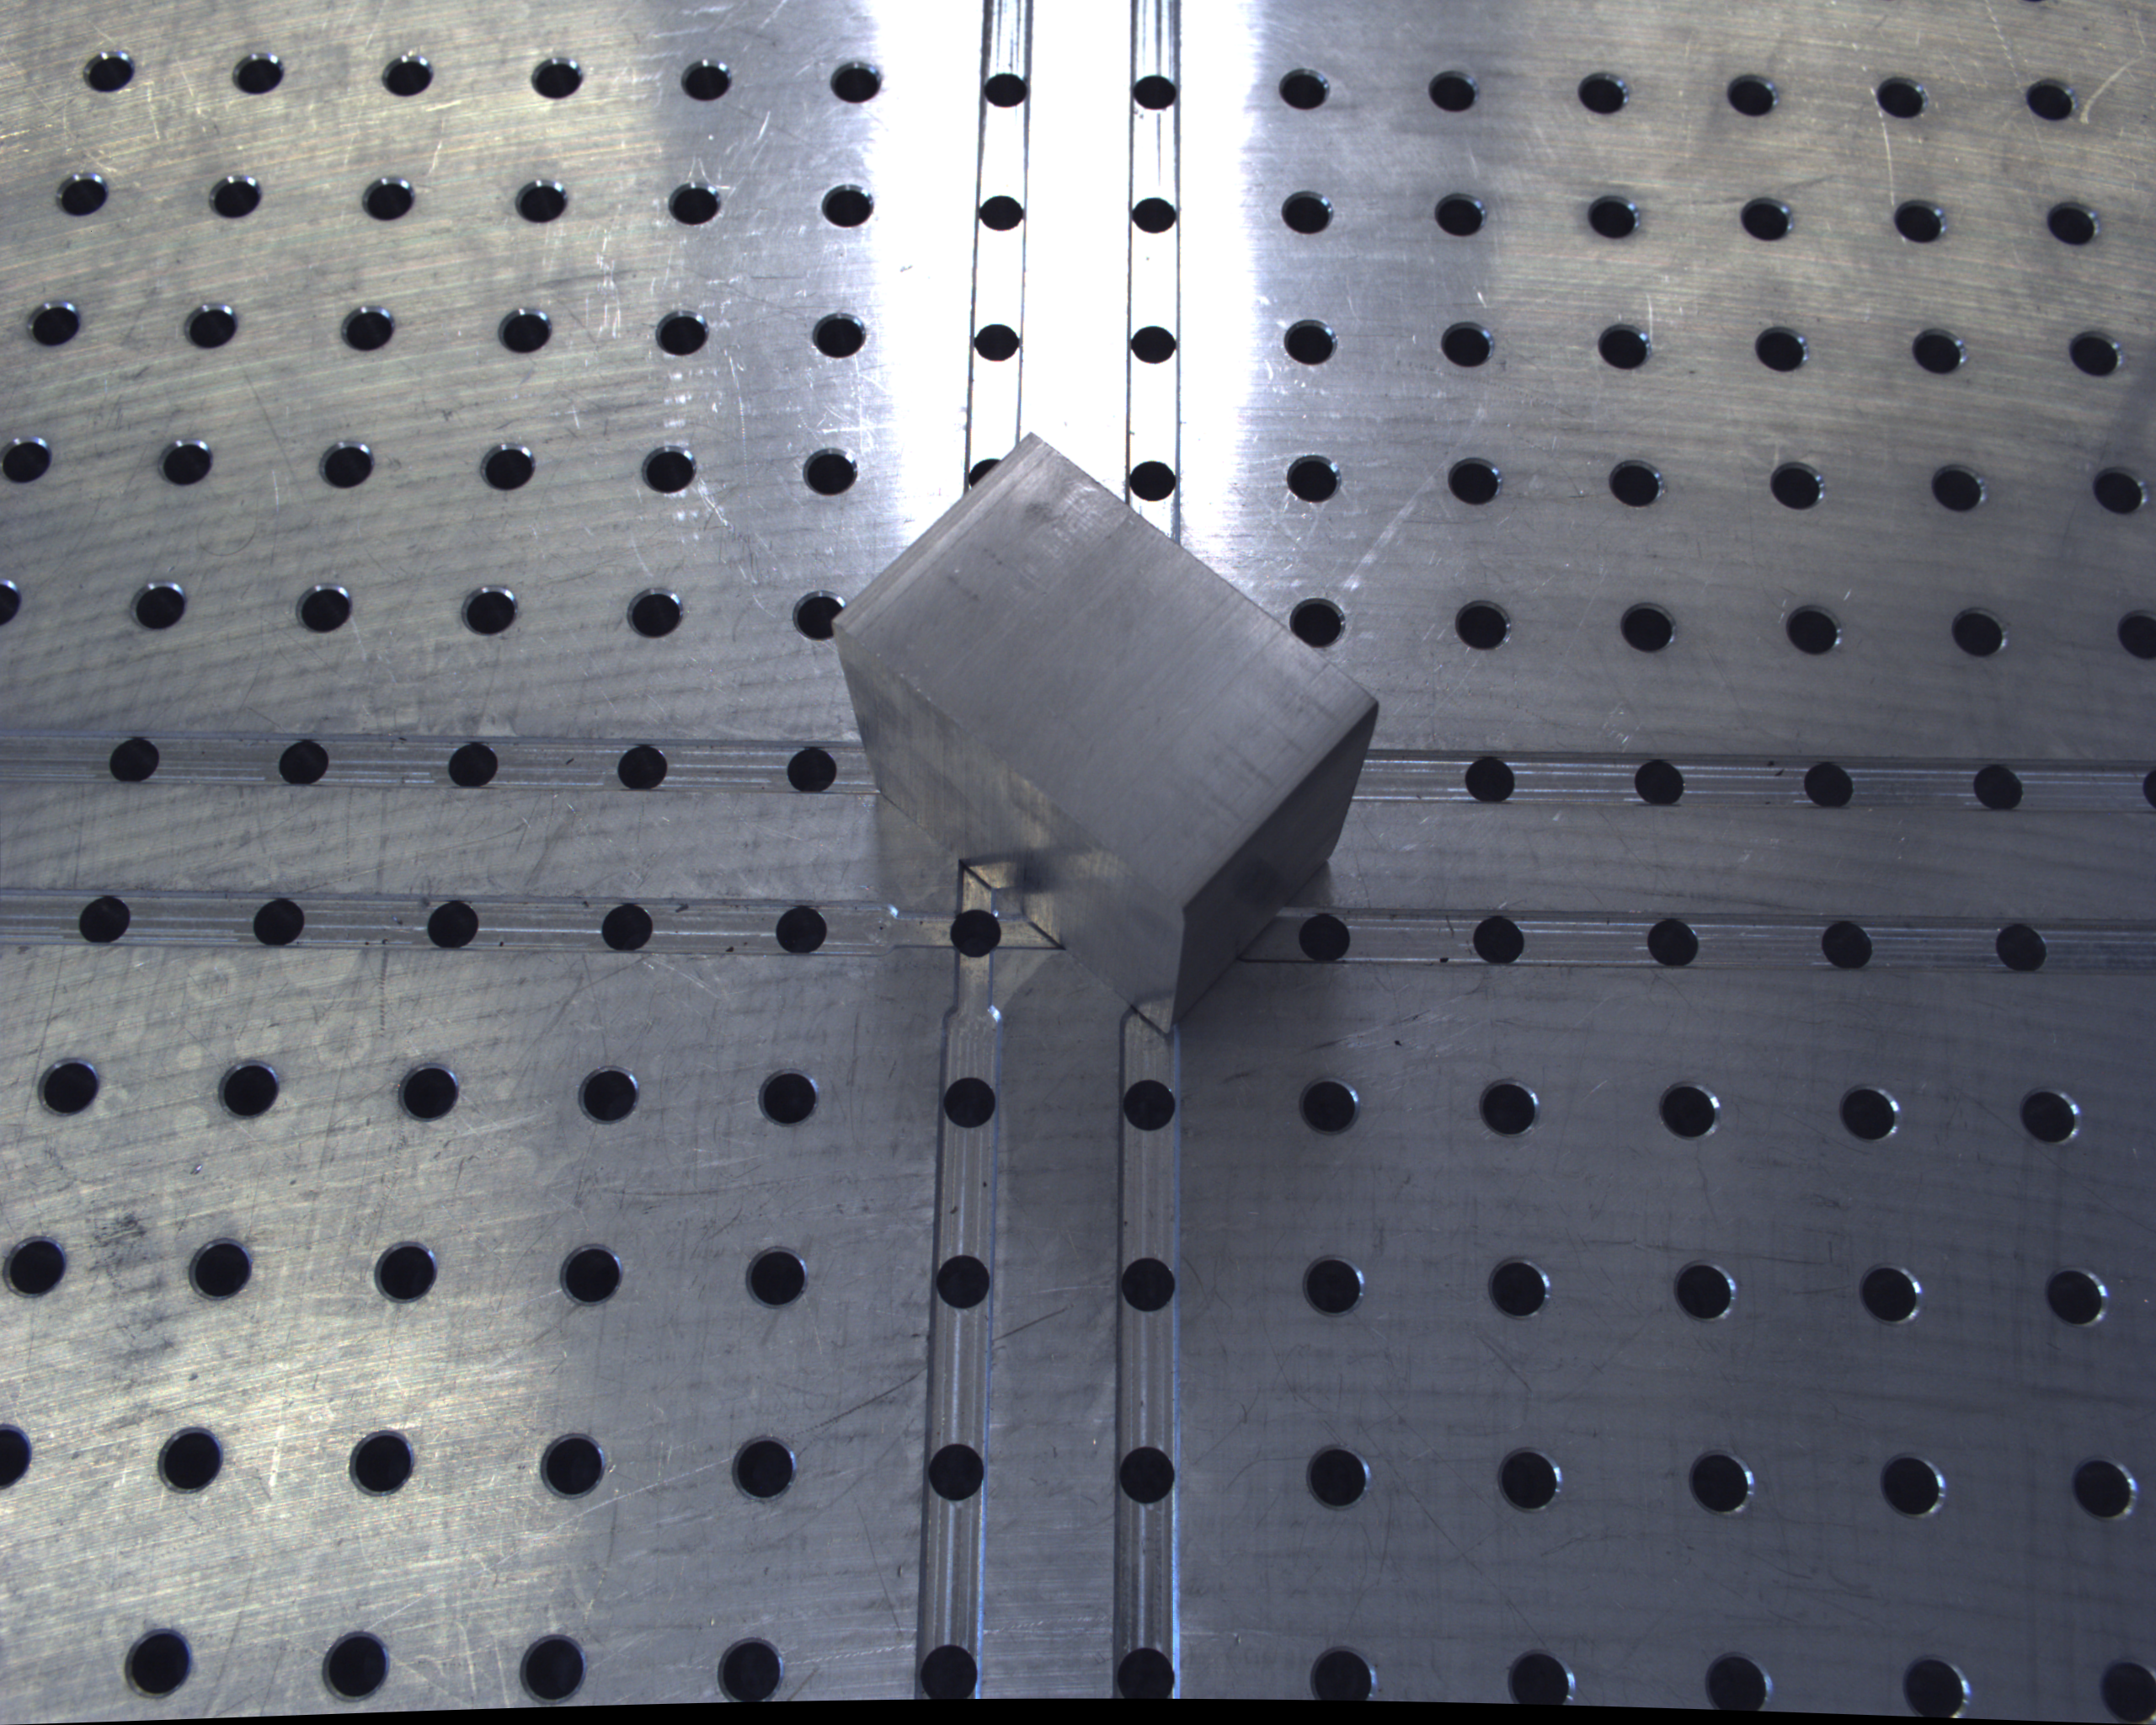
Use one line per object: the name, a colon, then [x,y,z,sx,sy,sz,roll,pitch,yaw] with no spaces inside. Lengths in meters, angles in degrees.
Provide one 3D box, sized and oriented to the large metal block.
large metal block: [0.004,-0.021,0.390,0.080,0.080,0.050,40,75,13]
